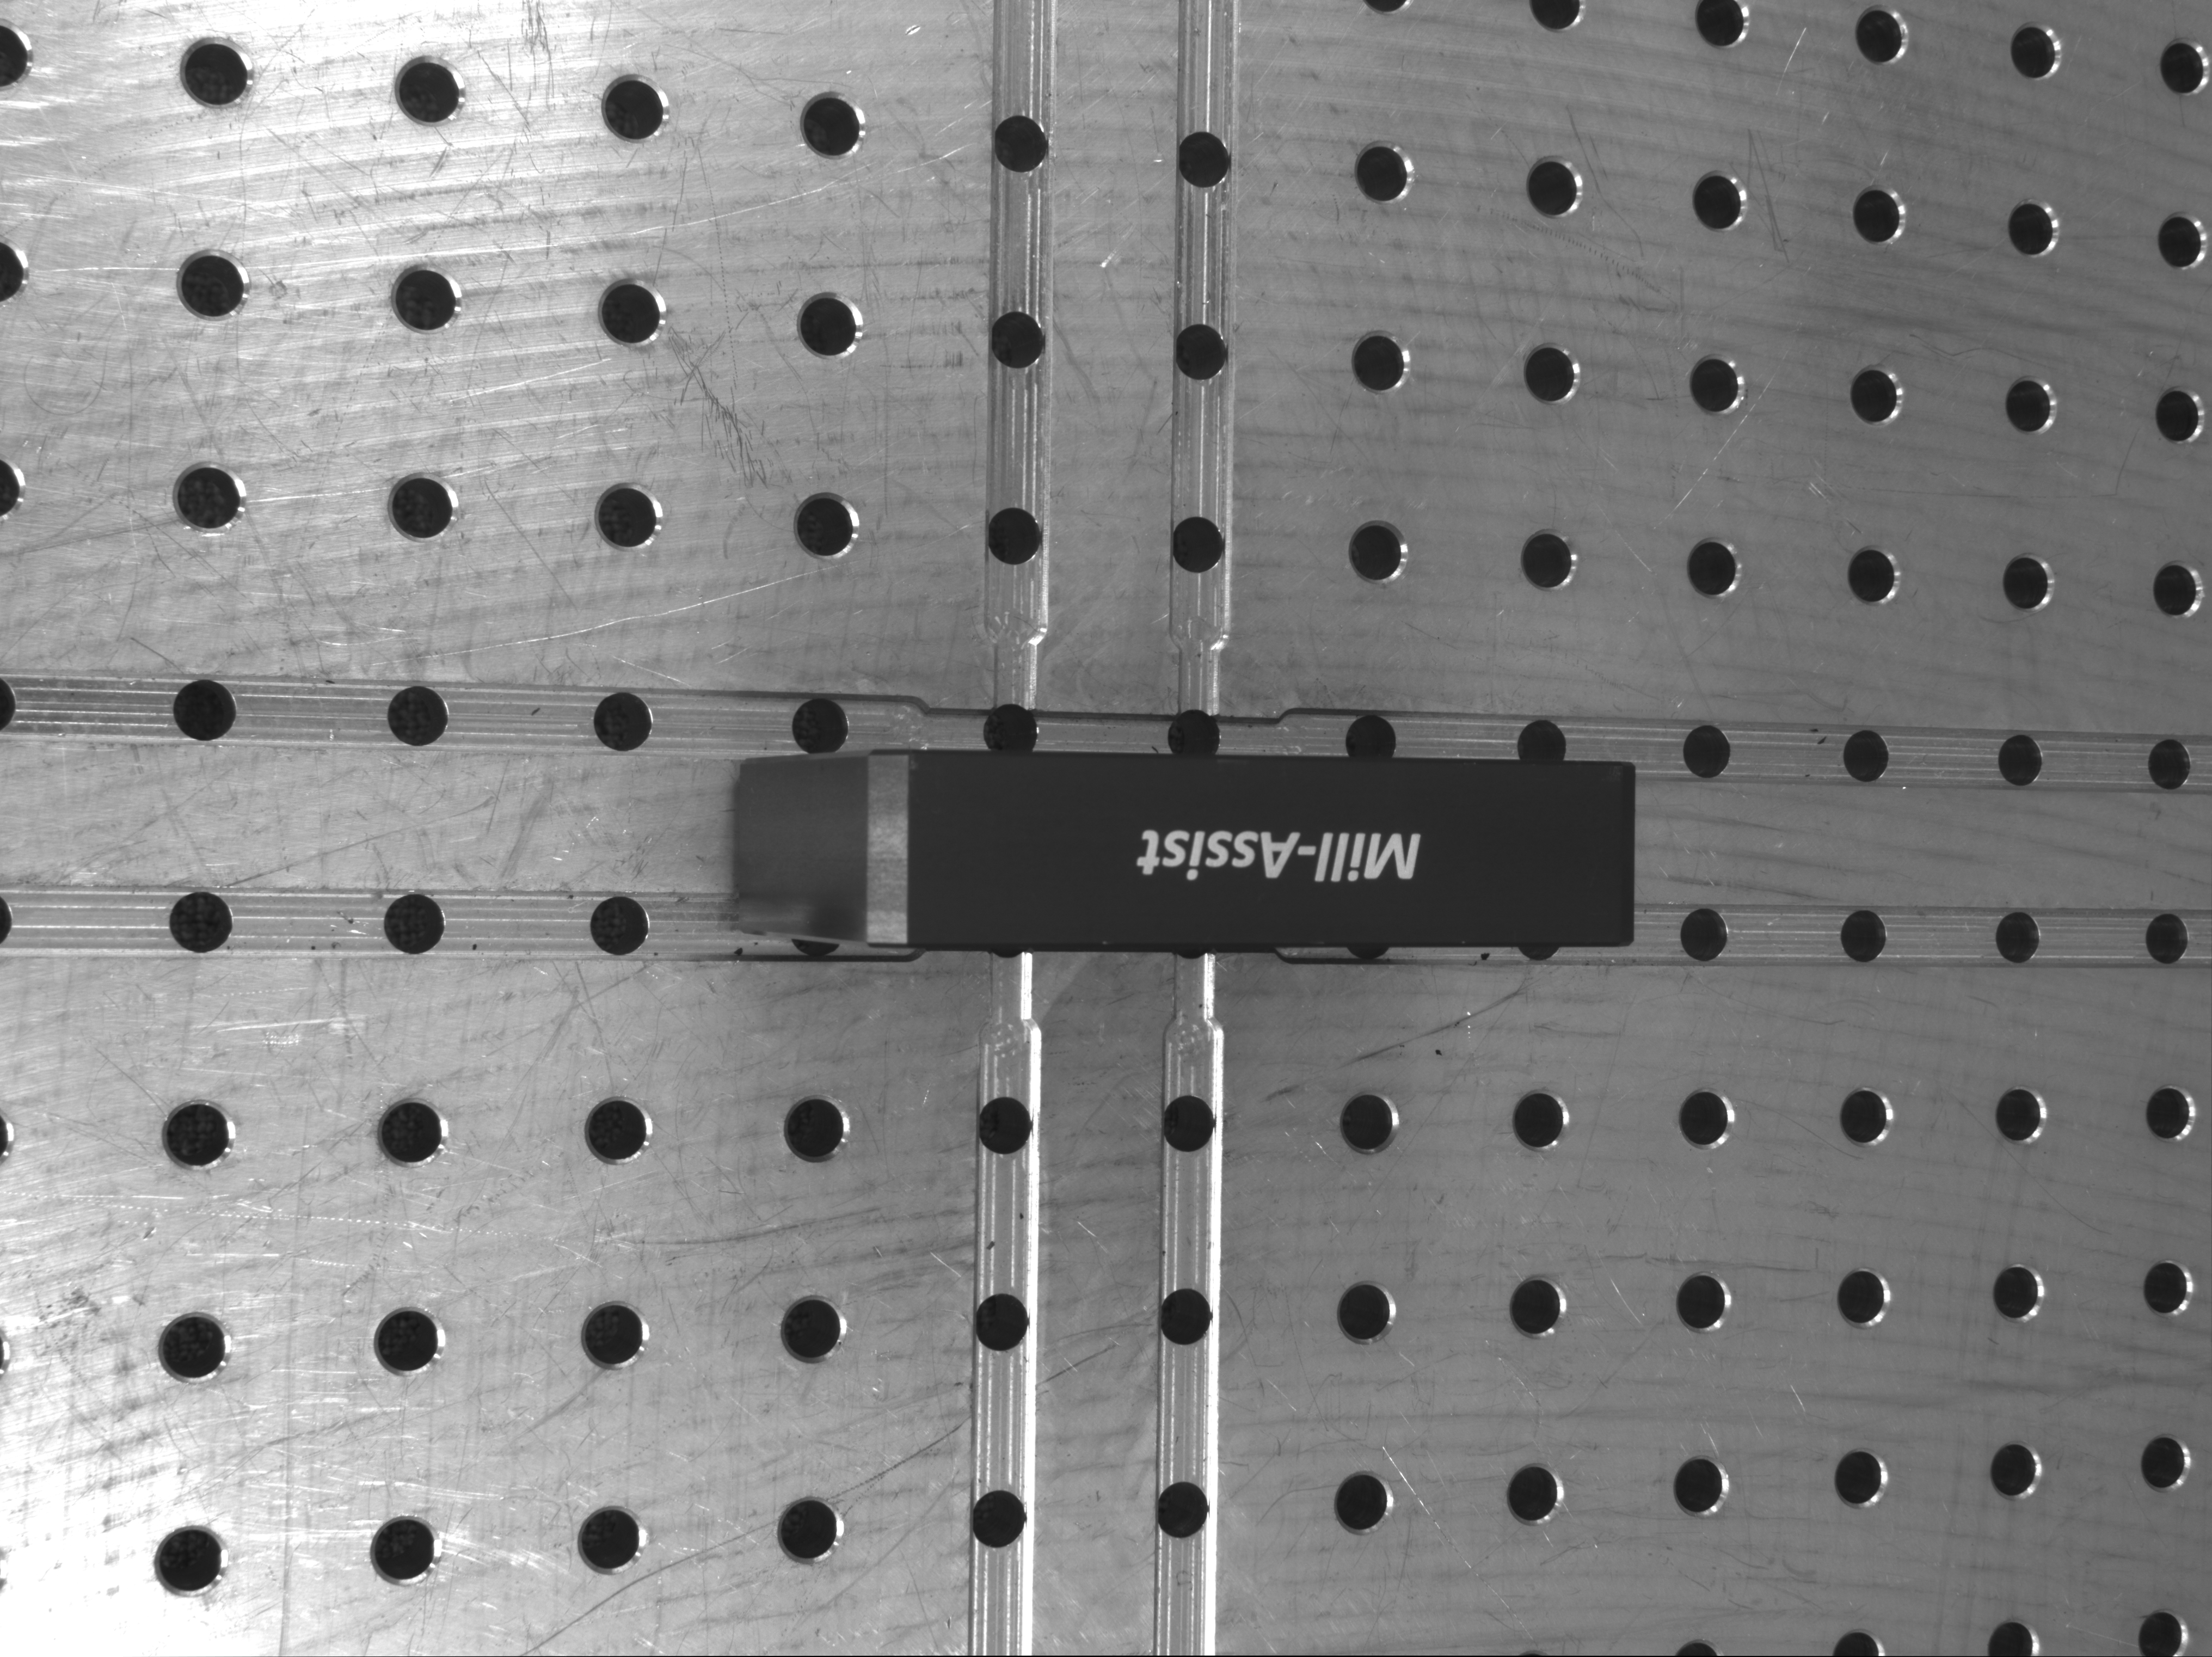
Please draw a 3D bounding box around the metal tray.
[{"bbox_3d":[0.012,0.004,0.615,0.130,0.090,0.030,0,90,-20],"label":"metal tray"}]
